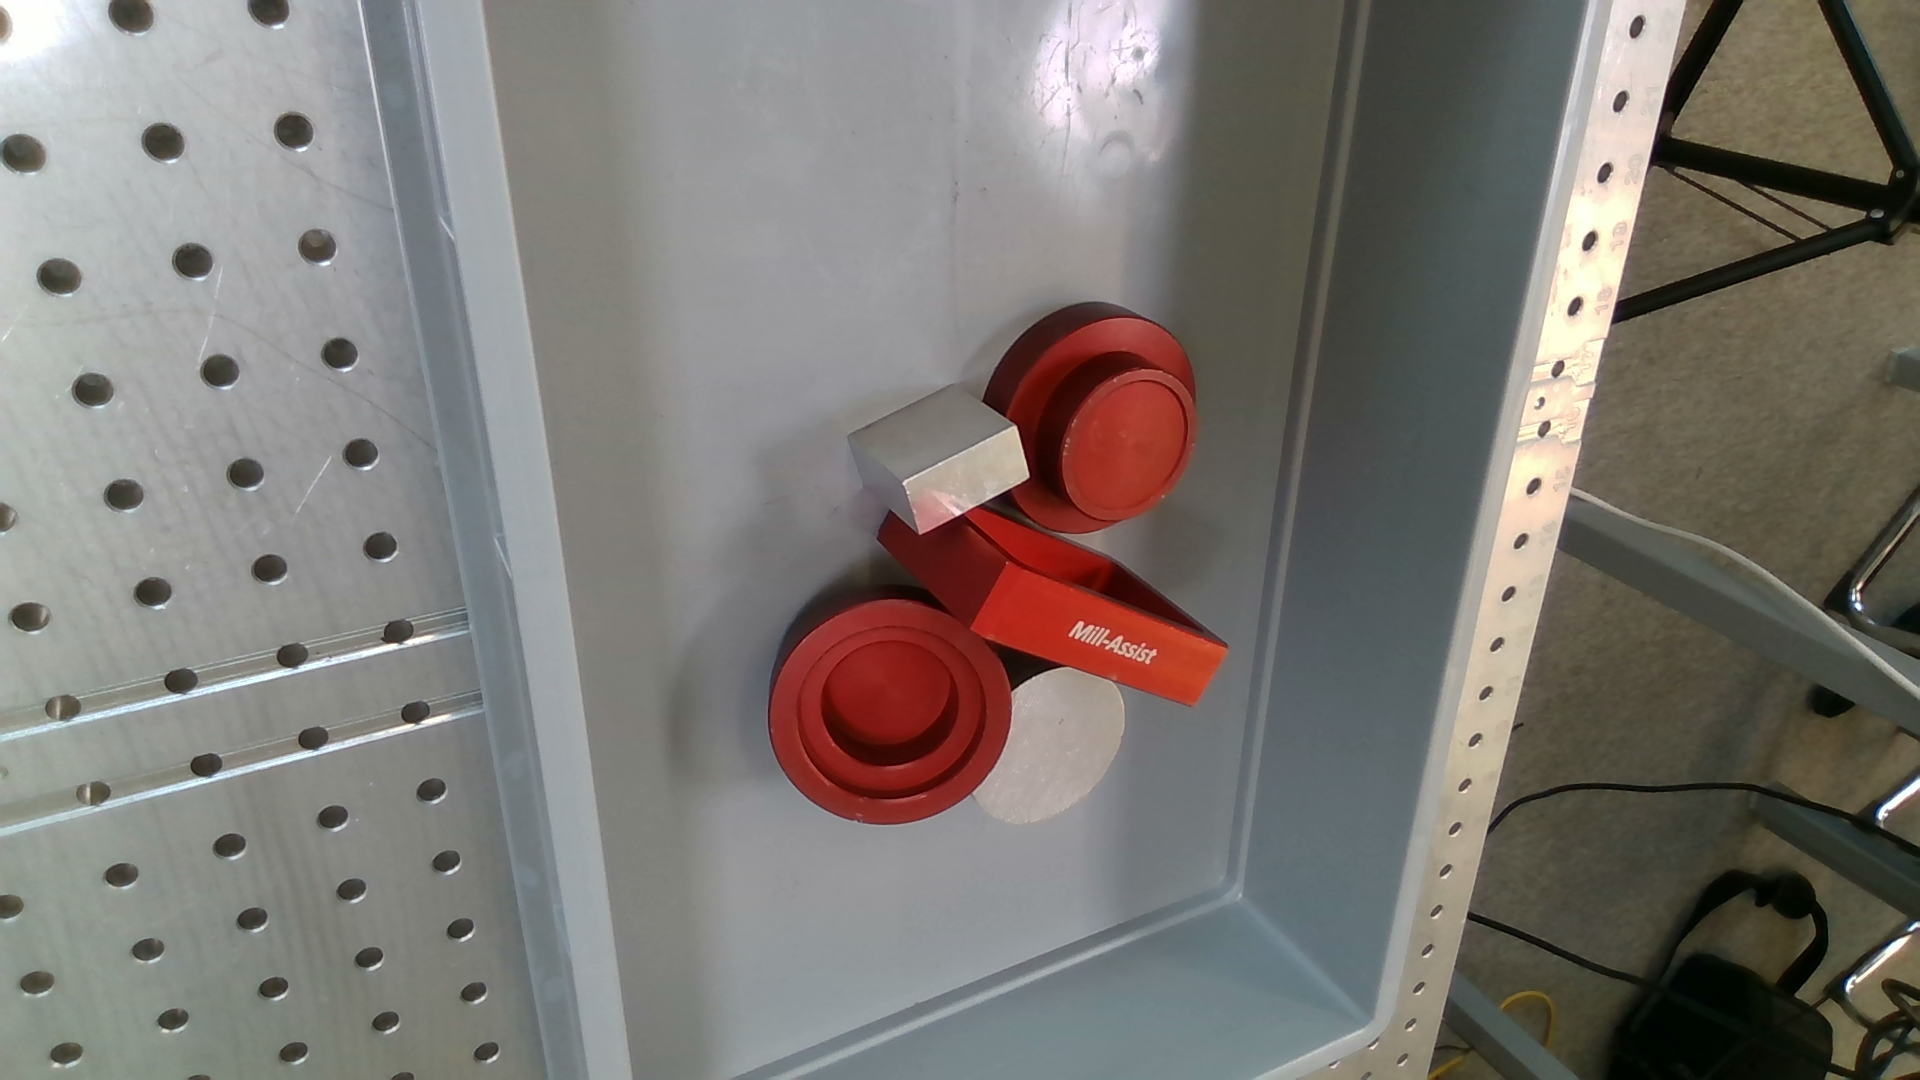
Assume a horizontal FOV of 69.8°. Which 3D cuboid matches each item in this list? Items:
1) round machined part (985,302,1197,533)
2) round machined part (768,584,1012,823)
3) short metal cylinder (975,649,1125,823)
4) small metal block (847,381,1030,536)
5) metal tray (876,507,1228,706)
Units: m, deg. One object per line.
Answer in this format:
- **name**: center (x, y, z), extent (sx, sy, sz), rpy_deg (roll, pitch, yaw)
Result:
- **round machined part**: center (0.060, -0.047, 0.579), extent (0.098, 0.042, 0.098), rpy_deg (-14, 122, -25)
- **round machined part**: center (-0.030, 0.064, 0.570), extent (0.098, 0.042, 0.098), rpy_deg (-2, 108, -7)
- **short metal cylinder**: center (0.027, 0.080, 0.624), extent (0.080, 0.050, 0.080), rpy_deg (-14, 122, -25)
- **small metal block**: center (-0.009, -0.033, 0.540), extent (0.050, 0.050, 0.025), rpy_deg (-28, 126, -16)
- **metal tray**: center (0.039, 0.022, 0.573), extent (0.130, 0.090, 0.030), rpy_deg (21, 103, -38)
